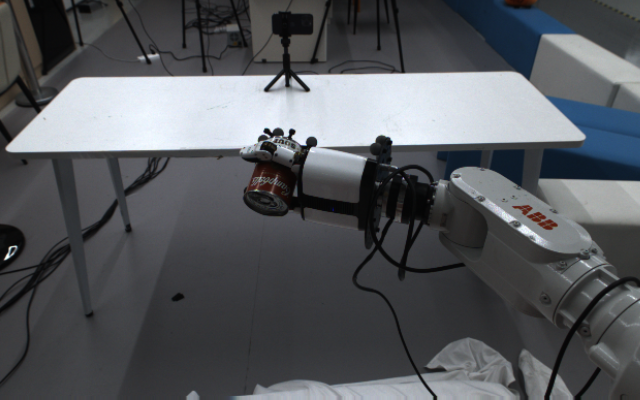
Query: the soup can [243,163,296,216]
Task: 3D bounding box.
[{"bbox_3d":[-0.066,-0.036,0.709,0.067,0.067,0.101,9,58,10],"label":"soup can"}]
